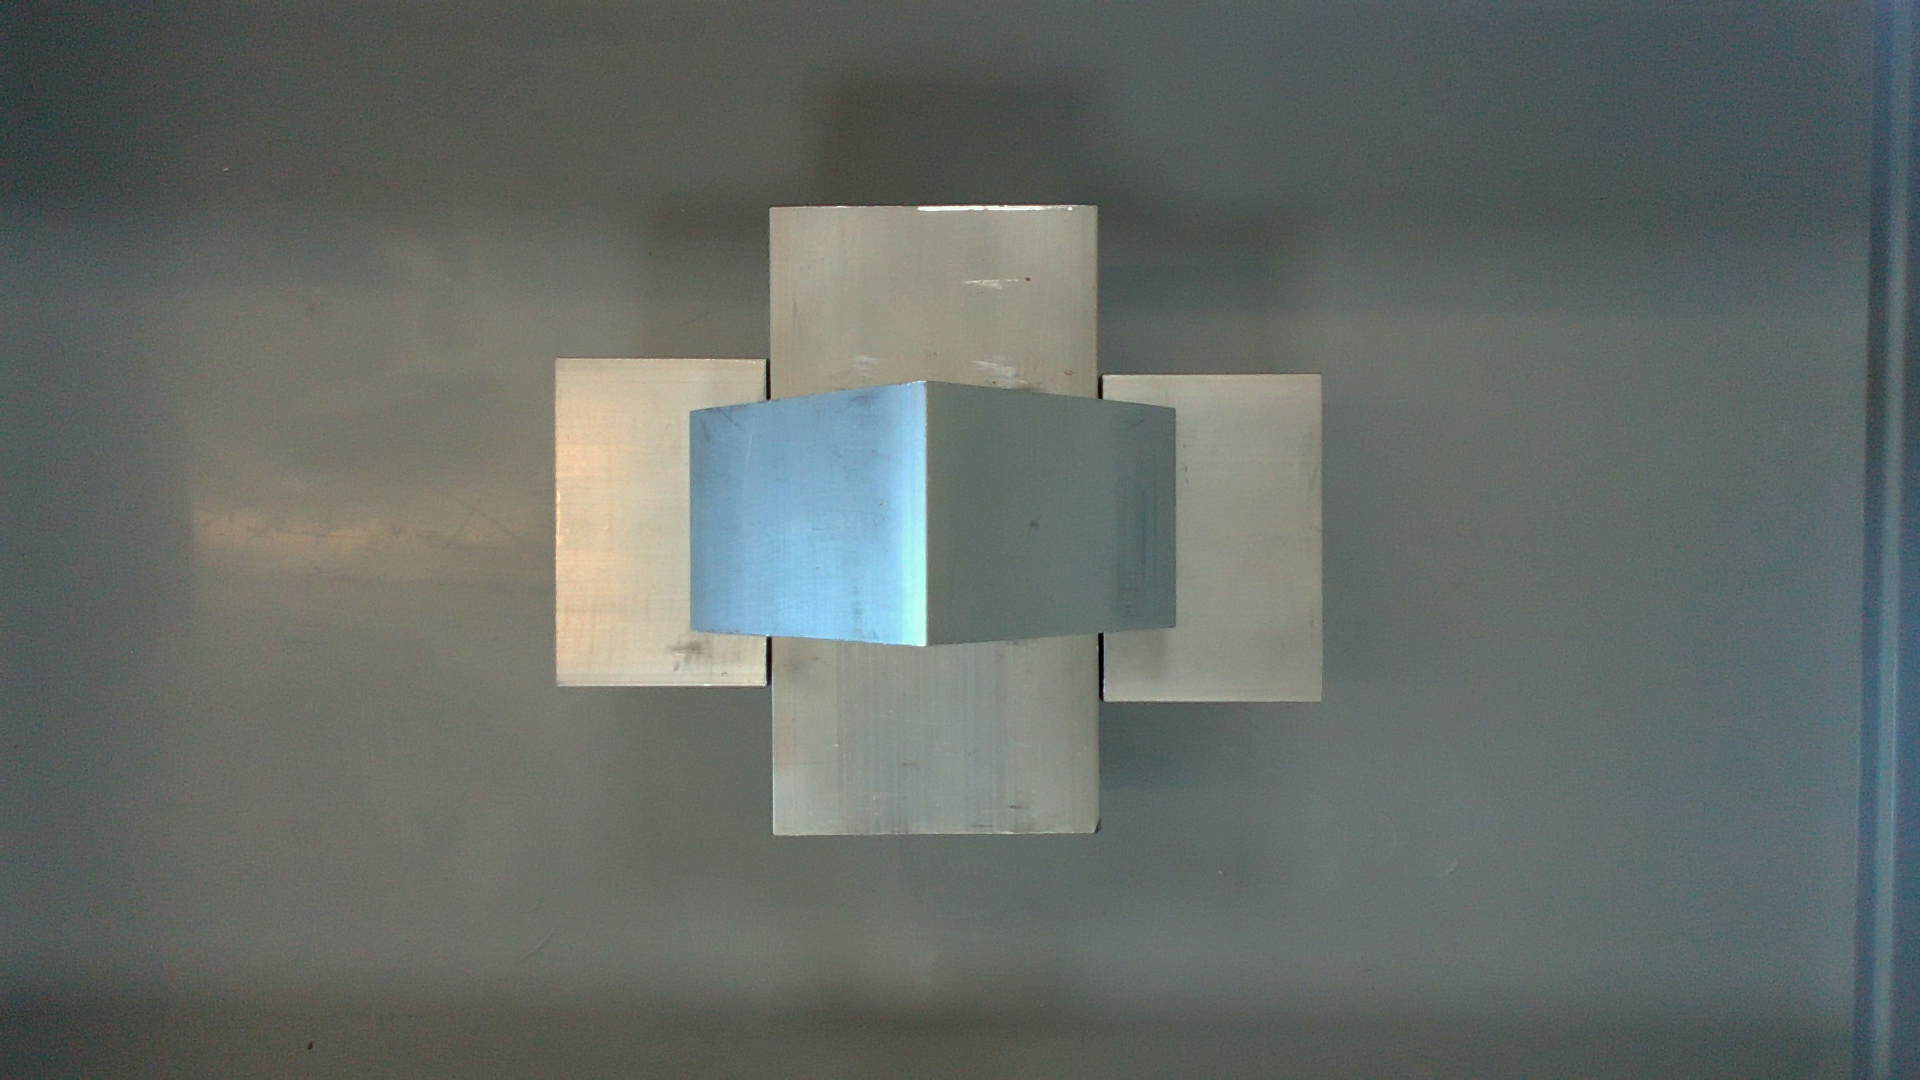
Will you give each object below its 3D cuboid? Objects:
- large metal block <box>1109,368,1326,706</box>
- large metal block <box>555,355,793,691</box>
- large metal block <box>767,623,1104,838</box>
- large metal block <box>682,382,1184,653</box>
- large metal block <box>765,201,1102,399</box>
[{"bbox_3d":[0.061,-0.001,0.365,0.050,0.080,0.080,0,90,0],"label":"large metal block"},{"bbox_3d":[-0.071,-0.004,0.367,0.050,0.080,0.080,0,90,0],"label":"large metal block"},{"bbox_3d":[-0.006,0.046,0.367,0.080,0.080,0.050,0,90,0],"label":"large metal block"},{"bbox_3d":[-0.006,-0.004,0.310,0.080,0.080,0.050,0,90,-45],"label":"large metal block"},{"bbox_3d":[-0.006,-0.056,0.367,0.080,0.080,0.050,0,90,0],"label":"large metal block"}]
